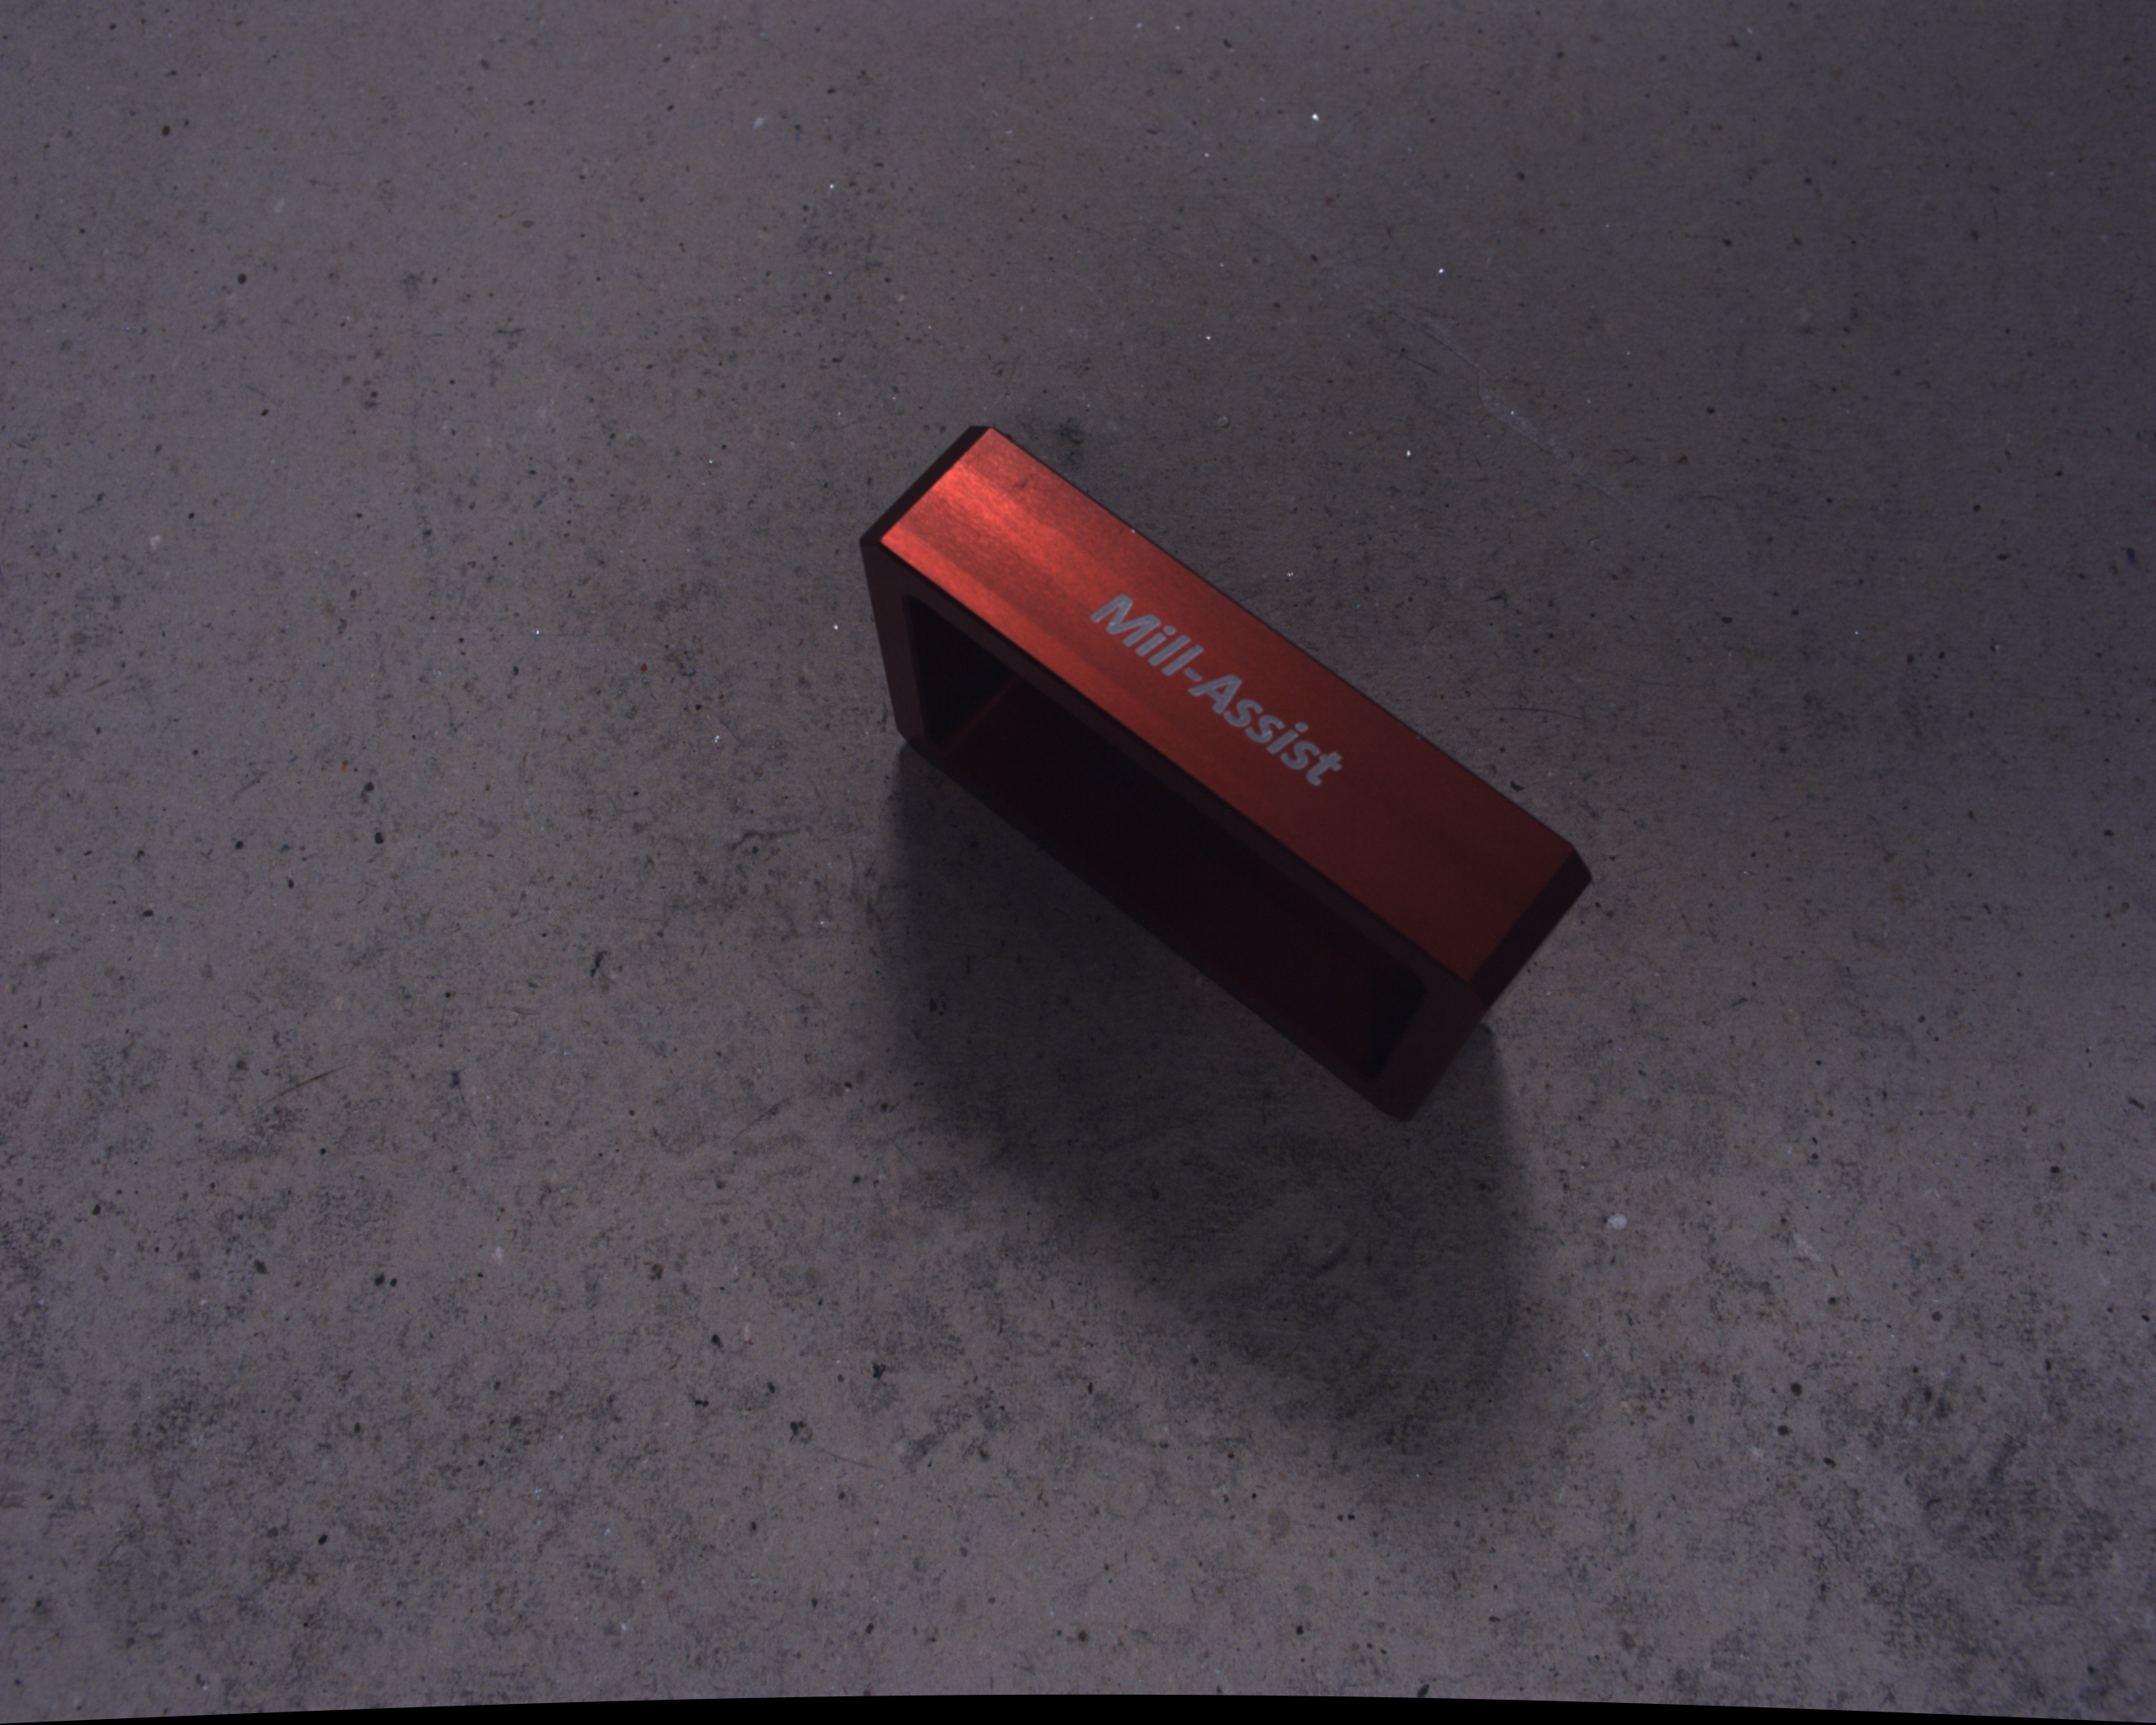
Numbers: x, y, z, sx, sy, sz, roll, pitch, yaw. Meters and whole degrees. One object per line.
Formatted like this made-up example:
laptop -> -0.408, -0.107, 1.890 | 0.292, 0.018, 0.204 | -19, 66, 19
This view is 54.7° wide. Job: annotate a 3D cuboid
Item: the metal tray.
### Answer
metal tray -> 0.023, -0.013, 0.380 | 0.130, 0.090, 0.030 | 38, 74, 12
